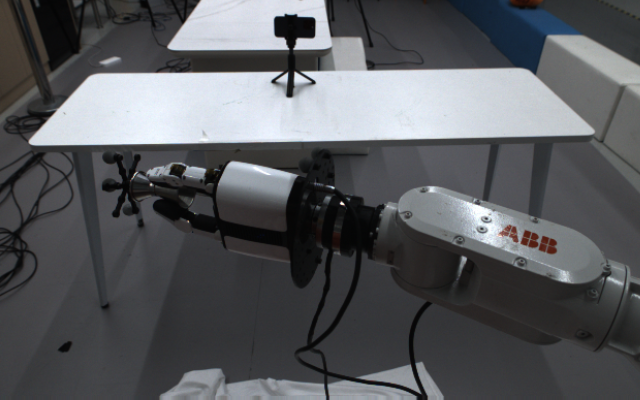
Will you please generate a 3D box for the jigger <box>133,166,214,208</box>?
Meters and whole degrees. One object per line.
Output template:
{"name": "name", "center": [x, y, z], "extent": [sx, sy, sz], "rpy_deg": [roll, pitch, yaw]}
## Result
{"name": "jigger", "center": [-0.189, -0.017, 0.607], "extent": [0.071, 0.043, 0.043], "rpy_deg": [5, 35, 13]}
